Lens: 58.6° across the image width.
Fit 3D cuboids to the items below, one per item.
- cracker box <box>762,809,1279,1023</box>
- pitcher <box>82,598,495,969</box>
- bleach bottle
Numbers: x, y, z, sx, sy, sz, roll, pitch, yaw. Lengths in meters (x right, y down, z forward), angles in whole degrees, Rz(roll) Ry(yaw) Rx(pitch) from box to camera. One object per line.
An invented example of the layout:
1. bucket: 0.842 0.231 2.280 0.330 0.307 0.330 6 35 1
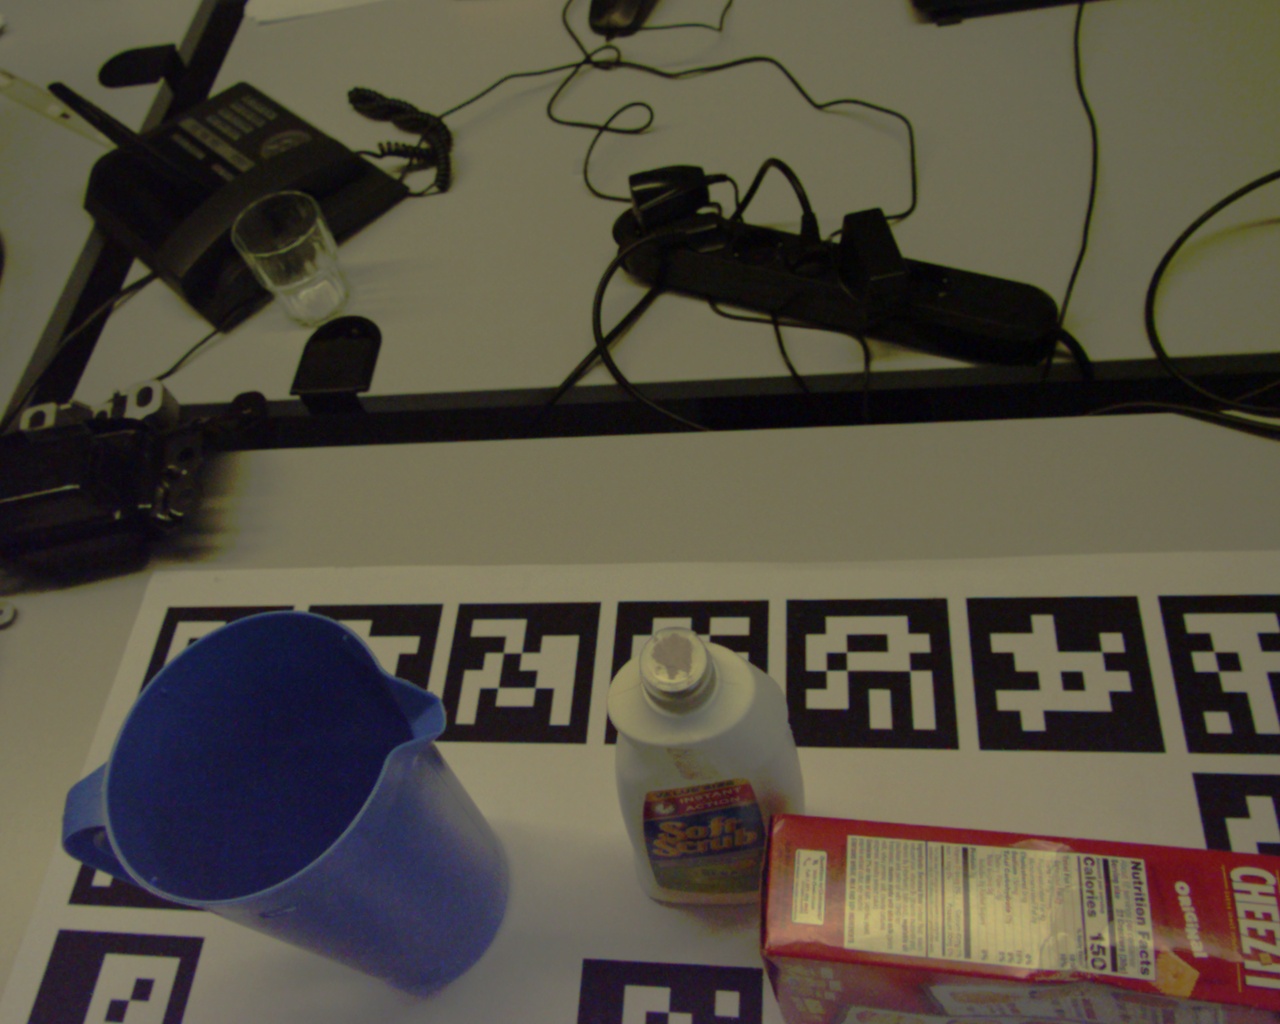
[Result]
1. cracker box: 0.175 0.209 0.560 0.215 0.163 0.072 -1 53 14
2. pitcher: -0.167 0.165 0.612 0.188 0.241 0.134 -16 53 -2
3. bleach bottle: 0.024 0.136 0.611 0.103 0.249 0.068 -2 55 11
